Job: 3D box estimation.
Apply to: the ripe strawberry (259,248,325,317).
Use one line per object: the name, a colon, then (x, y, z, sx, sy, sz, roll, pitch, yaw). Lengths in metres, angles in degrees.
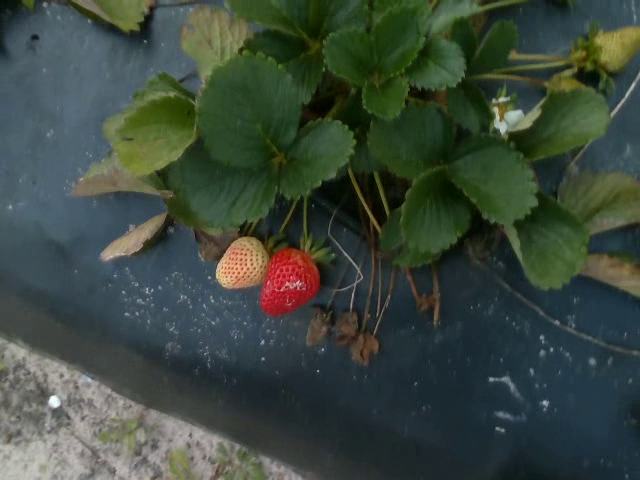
ripe strawberry: (-0.019, 0.024, 0.326, 0.042, 0.034, 0.033, -46, 12, -22)
